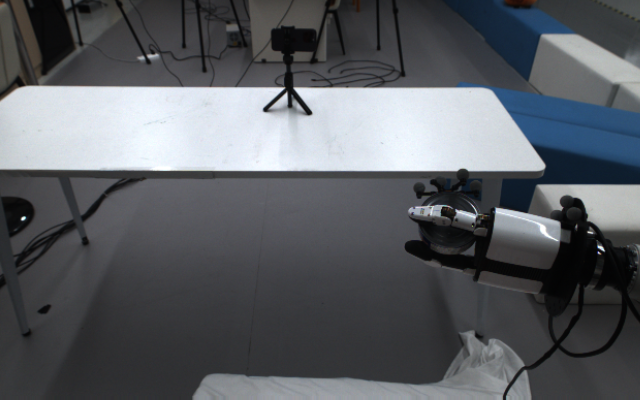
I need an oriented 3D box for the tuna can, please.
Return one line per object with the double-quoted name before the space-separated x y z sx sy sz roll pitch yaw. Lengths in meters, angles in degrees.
"tuna can" 0.181 0.031 0.680 0.085 0.034 0.085 -6 59 11
